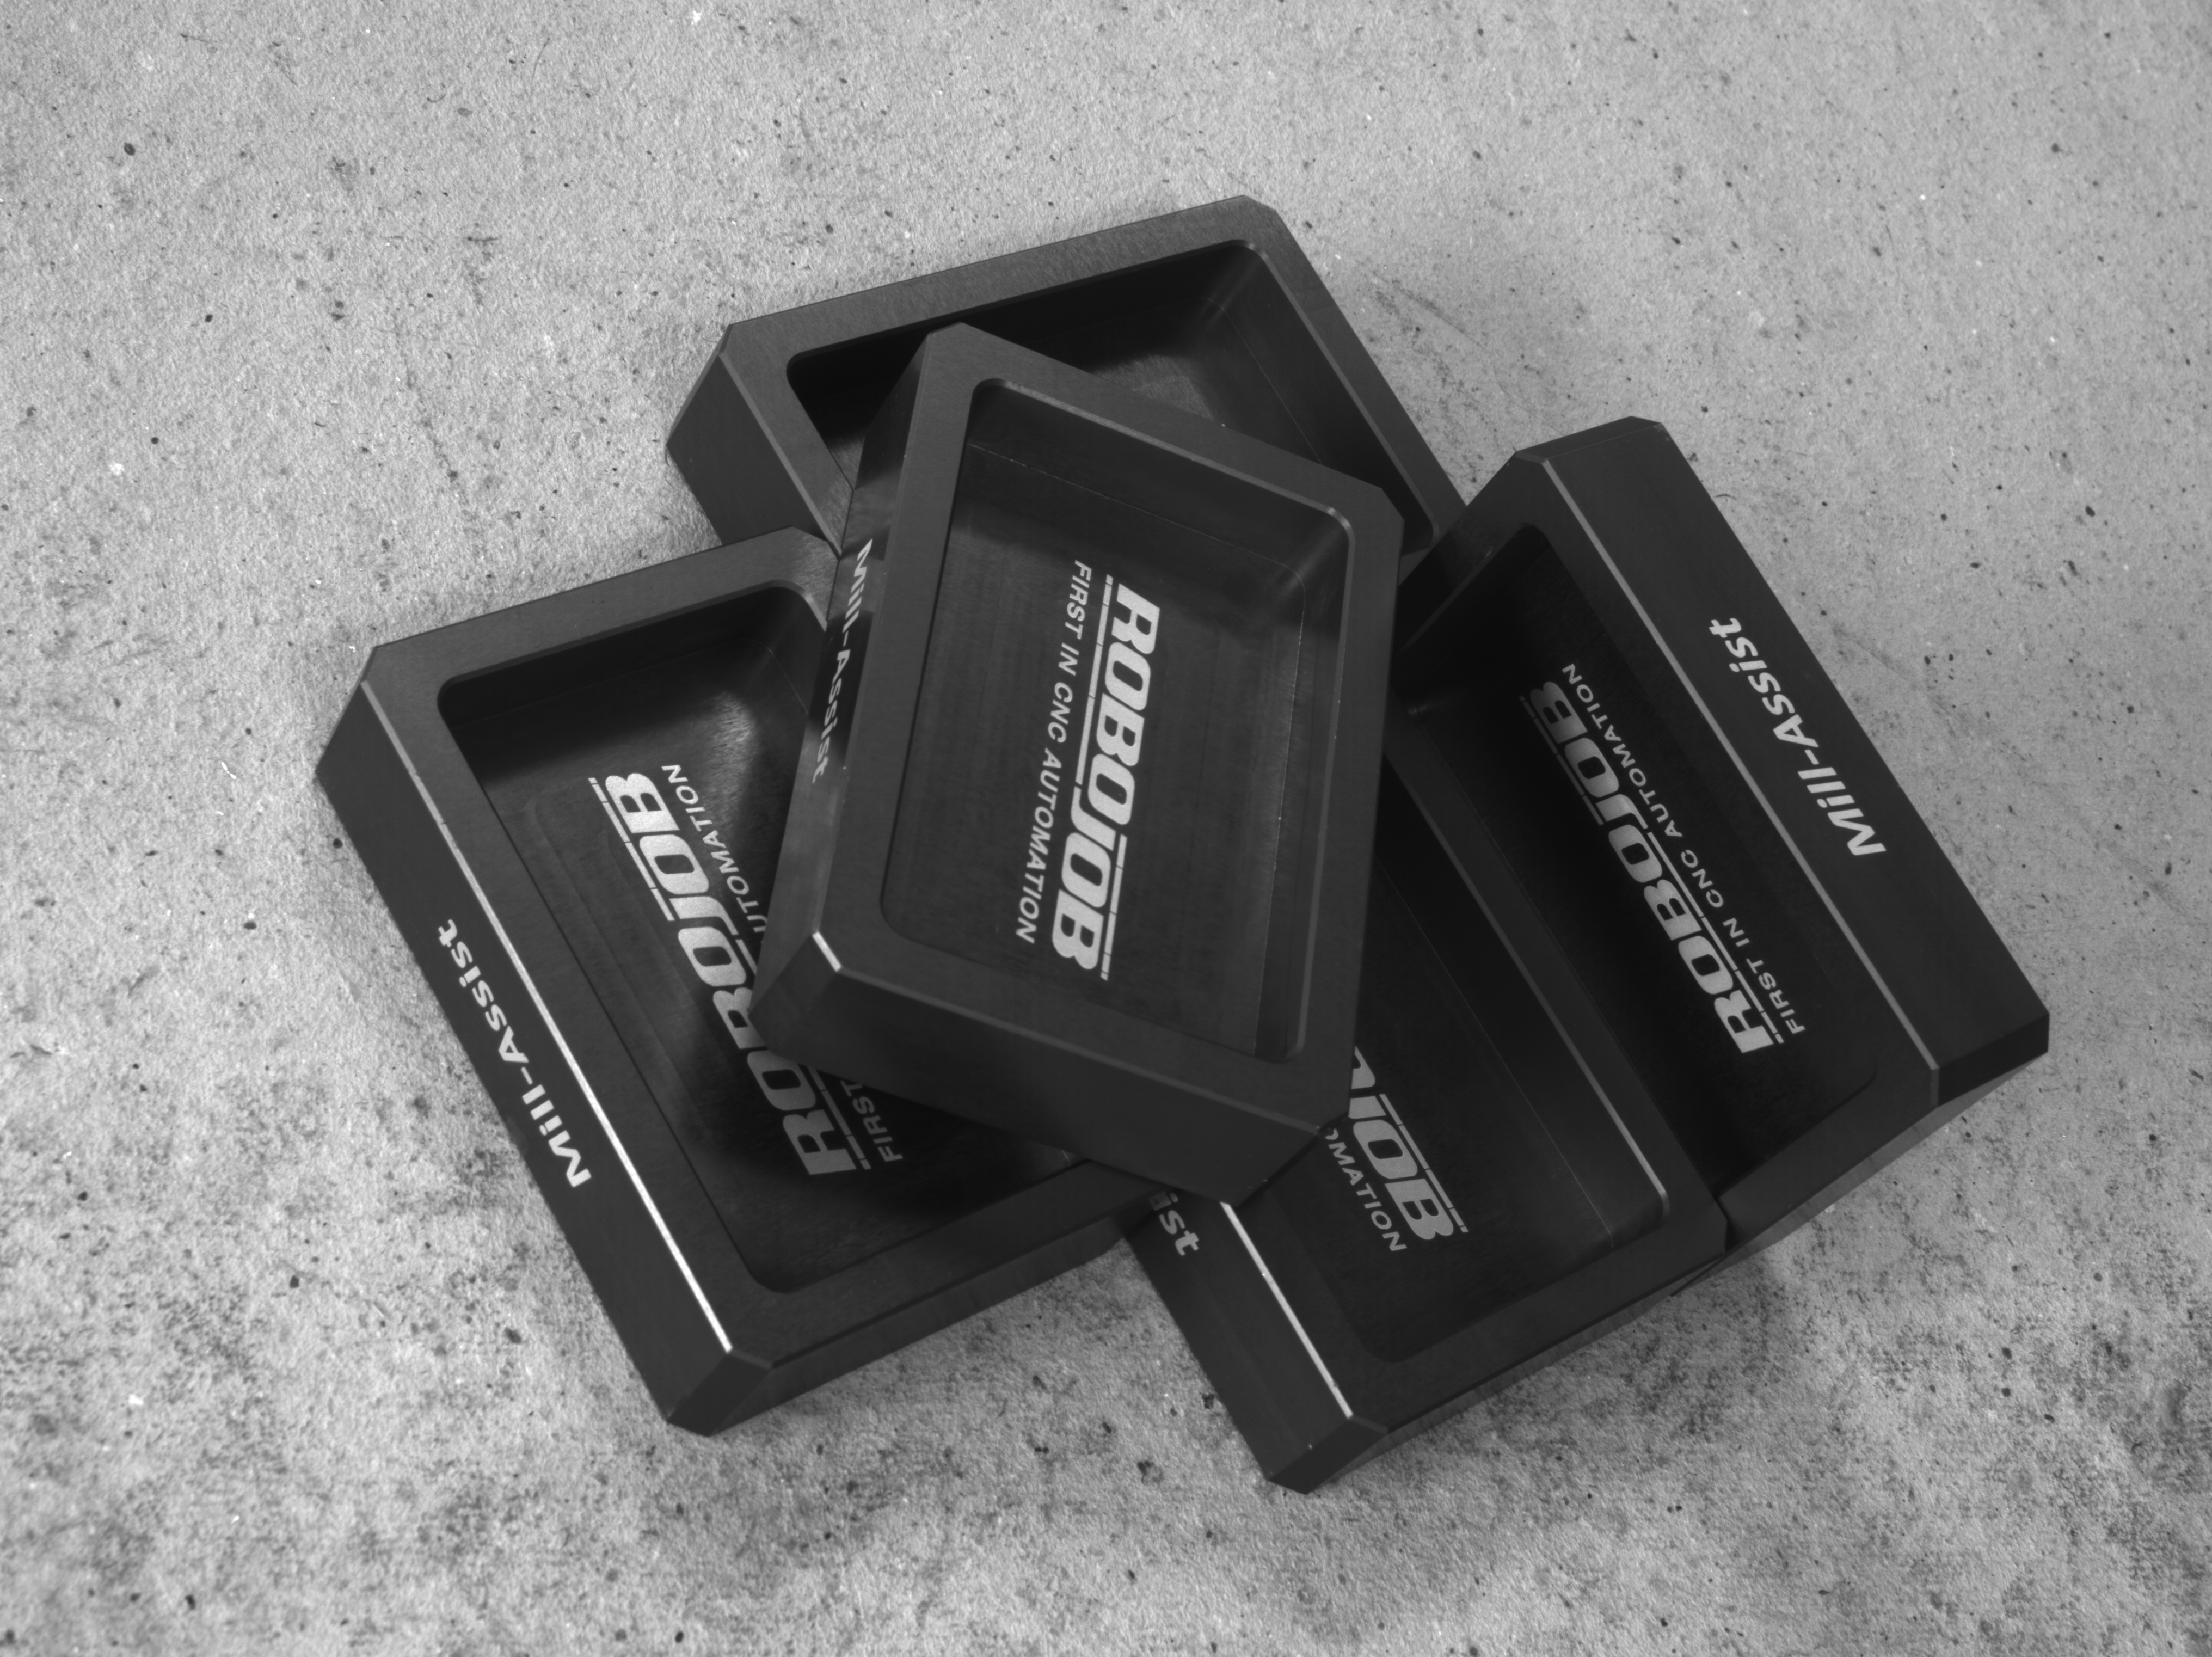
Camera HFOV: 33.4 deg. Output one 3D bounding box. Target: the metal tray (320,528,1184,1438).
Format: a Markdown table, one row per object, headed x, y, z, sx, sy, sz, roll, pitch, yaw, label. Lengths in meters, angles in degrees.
| x | y | z | sx | sy | sz | roll | pitch | yaw | label |
| --- | --- | --- | --- | --- | --- | --- | --- | --- | --- |
| -0.056 | 0.021 | 0.593 | 0.090 | 0.030 | 0.130 | -20 | 72 | -35 | metal tray |

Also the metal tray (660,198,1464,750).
| x | y | z | sx | sy | sz | roll | pitch | yaw | label |
| --- | --- | --- | --- | --- | --- | --- | --- | --- | --- |
| -0.004 | -0.060 | 0.672 | 0.130 | 0.030 | 0.090 | -20 | 72 | -35 | metal tray |

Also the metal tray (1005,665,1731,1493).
| x | y | z | sx | sy | sz | roll | pitch | yaw | label |
| --- | --- | --- | --- | --- | --- | --- | --- | --- | --- |
| 0.038 | 0.036 | 0.632 | 0.090 | 0.030 | 0.130 | -21 | 74 | -35 | metal tray |

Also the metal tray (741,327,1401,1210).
| x | y | z | sx | sy | sz | roll | pitch | yaw | label |
| --- | --- | --- | --- | --- | --- | --- | --- | --- | --- |
| -0.003 | -0.012 | 0.605 | 0.090 | 0.030 | 0.130 | 20 | 55 | -16 | metal tray |

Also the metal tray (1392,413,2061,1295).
| x | y | z | sx | sy | sz | roll | pitch | yaw | label |
| --- | --- | --- | --- | --- | --- | --- | --- | --- | --- |
| 0.098 | 0.005 | 0.644 | 0.030 | 0.090 | 0.130 | -20 | 72 | -35 | metal tray |
